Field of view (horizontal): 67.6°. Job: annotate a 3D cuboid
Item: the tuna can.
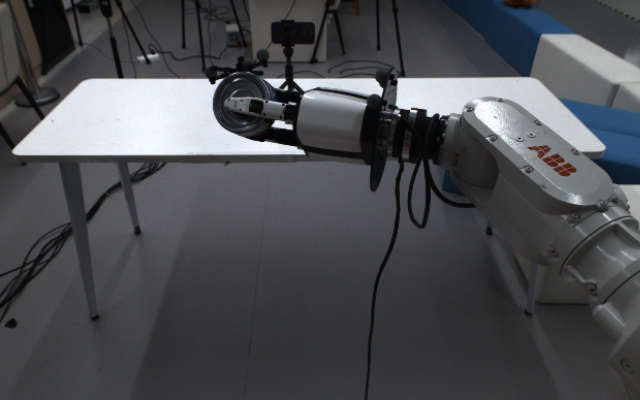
[{"bbox_3d":[-0.099,-0.125,0.659,0.085,0.085,0.034,12,3,14],"label":"tuna can"}]
